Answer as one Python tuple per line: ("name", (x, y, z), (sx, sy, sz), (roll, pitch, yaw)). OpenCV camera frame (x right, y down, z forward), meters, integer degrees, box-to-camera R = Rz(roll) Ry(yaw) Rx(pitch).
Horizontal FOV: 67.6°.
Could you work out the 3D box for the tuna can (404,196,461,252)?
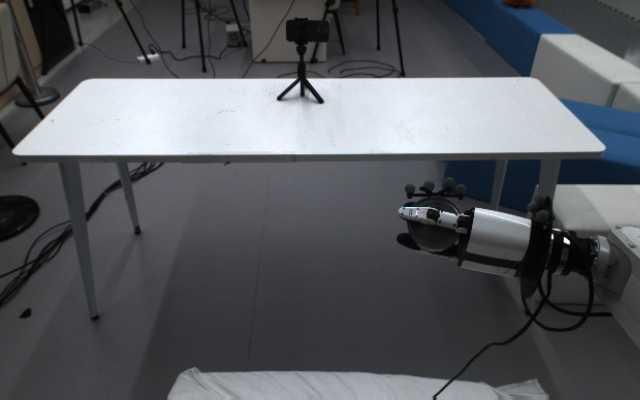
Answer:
("tuna can", (0.181, 0.036, 0.766), (0.085, 0.034, 0.085), (-4, 70, 11))
